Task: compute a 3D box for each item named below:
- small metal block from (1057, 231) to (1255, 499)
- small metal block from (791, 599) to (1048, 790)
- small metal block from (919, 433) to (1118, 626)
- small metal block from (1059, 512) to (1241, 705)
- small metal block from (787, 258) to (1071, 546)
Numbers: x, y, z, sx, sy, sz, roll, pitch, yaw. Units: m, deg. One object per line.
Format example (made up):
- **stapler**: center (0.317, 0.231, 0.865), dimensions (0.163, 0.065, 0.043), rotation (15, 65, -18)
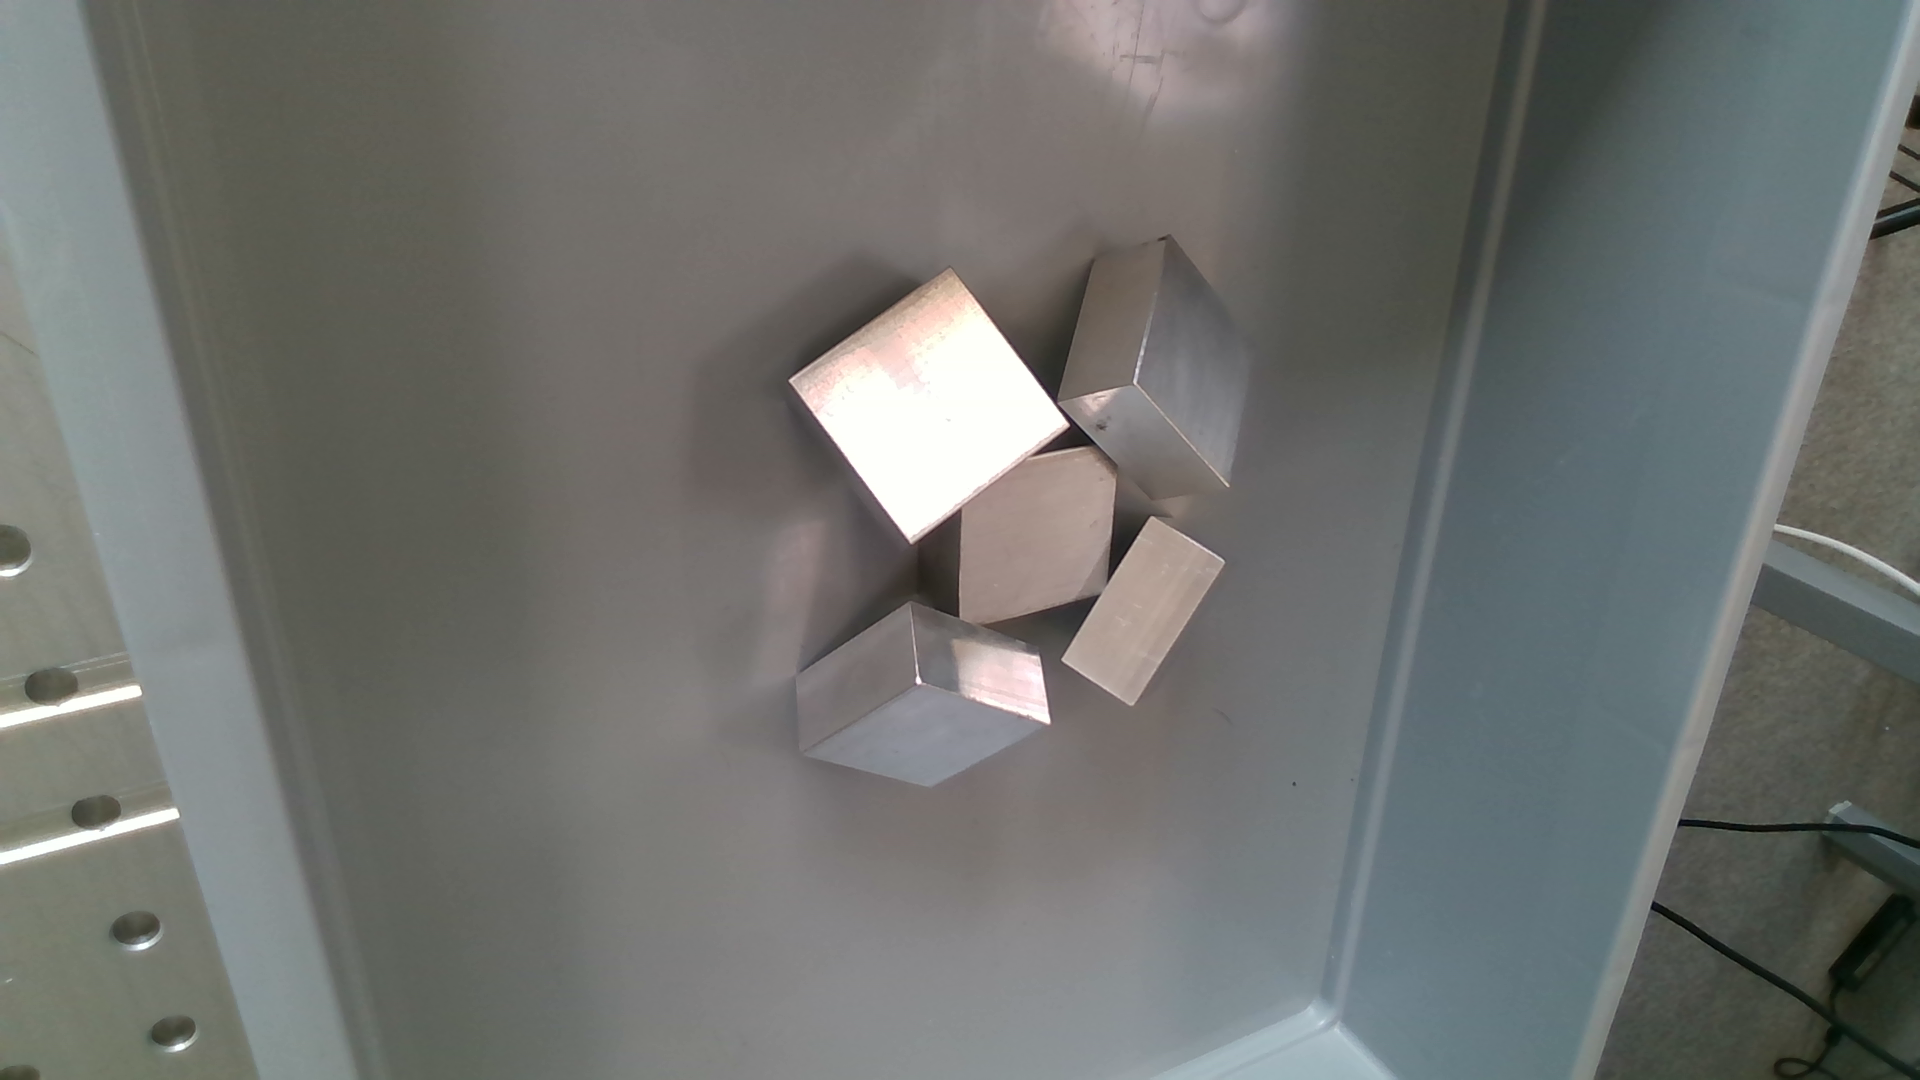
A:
- **small metal block**: center (0.055, -0.047, 0.380), dimensions (0.050, 0.025, 0.050), rotation (40, 54, -39)
- **small metal block**: center (-0.012, 0.045, 0.391), dimensions (0.050, 0.025, 0.050), rotation (22, 136, -38)
- **small metal block**: center (0.016, -0.007, 0.394), dimensions (0.050, 0.025, 0.050), rotation (-13, 121, -26)
- **small metal block**: center (0.059, 0.020, 0.419), dimensions (0.050, 0.025, 0.050), rotation (-59, 166, 9)
- **small metal block**: center (-0.009, -0.034, 0.349), dimensions (0.050, 0.025, 0.050), rotation (-37, 91, -10)
